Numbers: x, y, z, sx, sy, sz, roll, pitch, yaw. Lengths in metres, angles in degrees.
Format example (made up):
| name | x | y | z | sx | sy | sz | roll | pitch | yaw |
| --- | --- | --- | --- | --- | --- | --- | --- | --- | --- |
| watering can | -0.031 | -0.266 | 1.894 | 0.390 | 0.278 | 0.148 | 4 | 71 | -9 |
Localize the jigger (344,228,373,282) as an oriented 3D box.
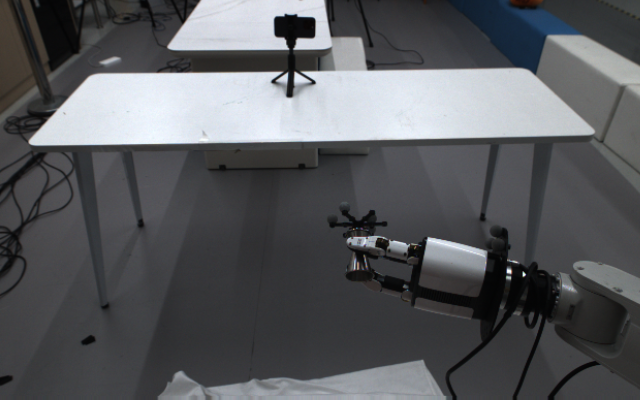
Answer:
| name | x | y | z | sx | sy | sz | roll | pitch | yaw |
| --- | --- | --- | --- | --- | --- | --- | --- | --- | --- |
| jigger | 0.057 | 0.077 | 0.710 | 0.043 | 0.043 | 0.071 | 2 | 59 | 0 |
